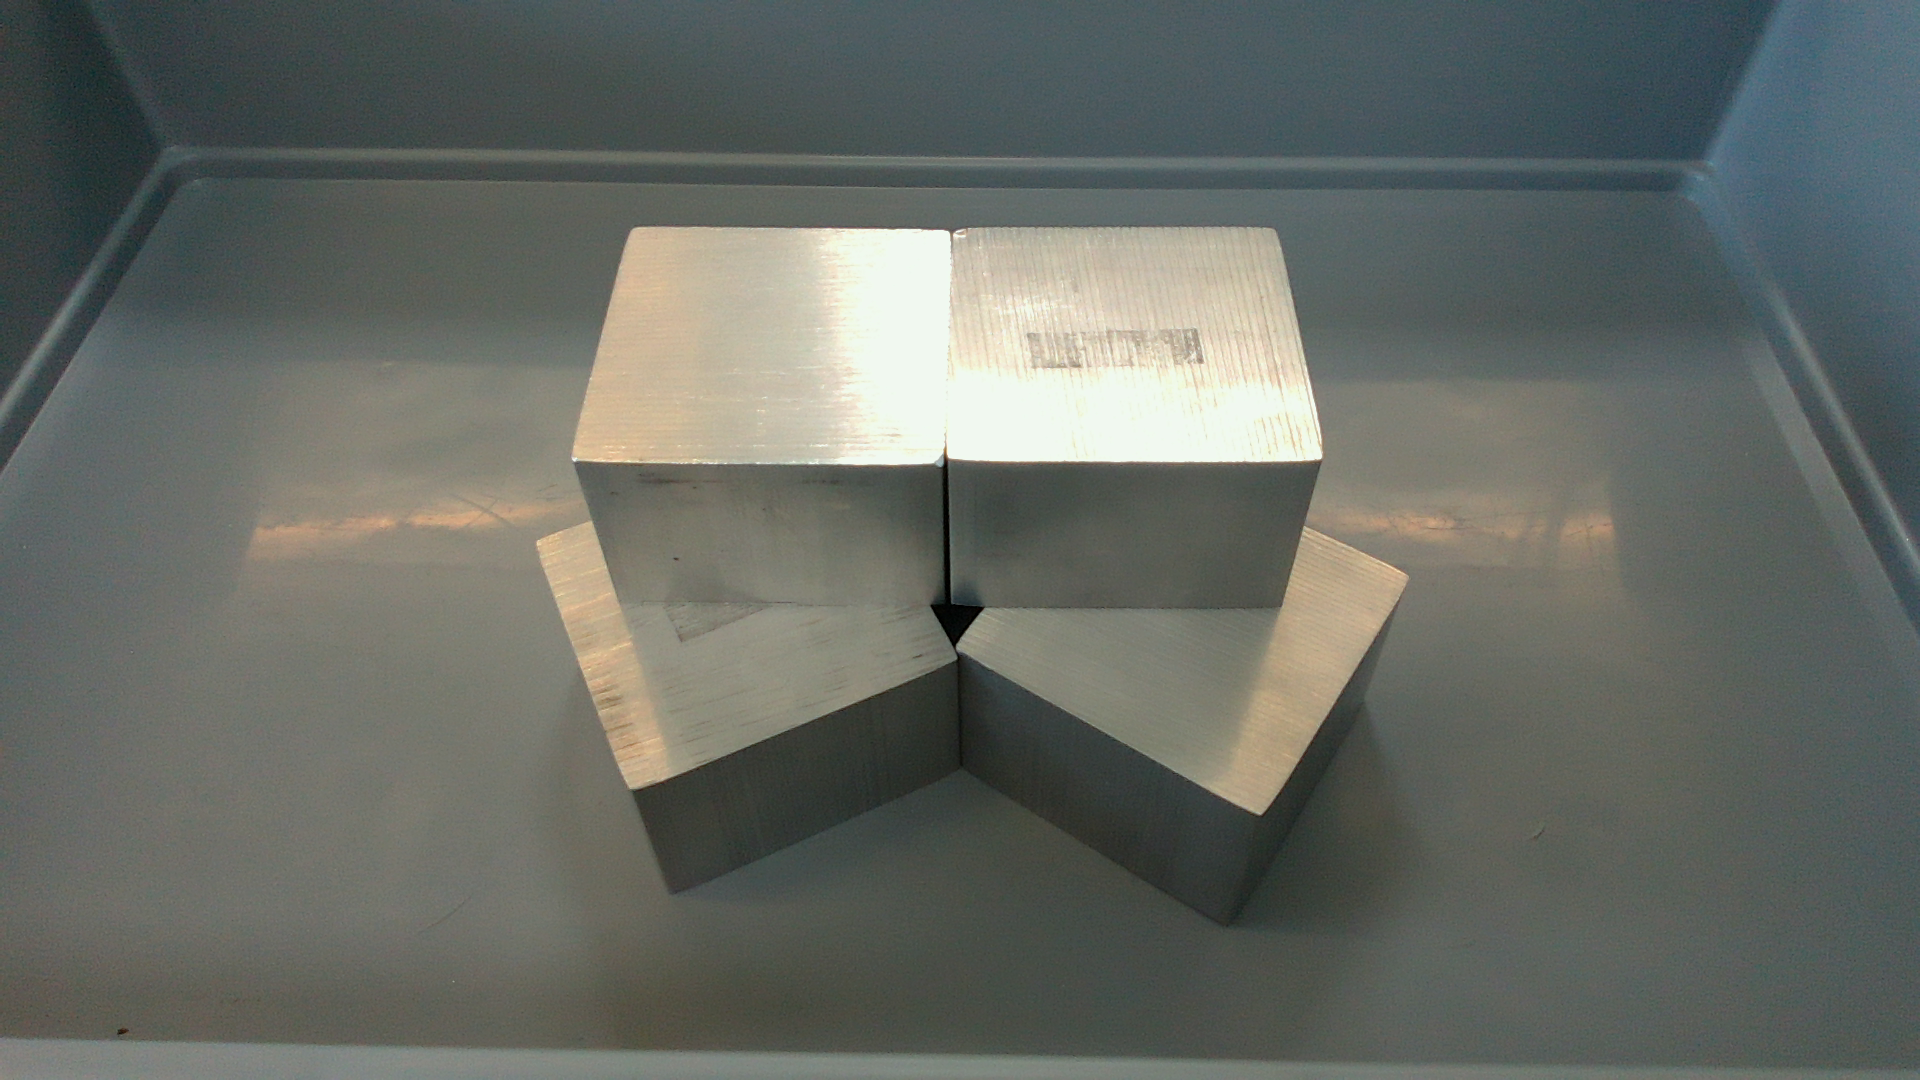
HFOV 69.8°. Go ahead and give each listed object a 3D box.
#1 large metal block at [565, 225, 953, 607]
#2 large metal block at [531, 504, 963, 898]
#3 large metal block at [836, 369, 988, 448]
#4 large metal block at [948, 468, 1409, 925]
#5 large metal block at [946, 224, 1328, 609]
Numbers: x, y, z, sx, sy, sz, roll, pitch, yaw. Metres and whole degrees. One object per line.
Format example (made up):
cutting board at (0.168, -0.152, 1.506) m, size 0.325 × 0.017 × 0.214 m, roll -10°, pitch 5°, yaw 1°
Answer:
large metal block at (-0.042, -0.031, 0.334) m, size 0.080 × 0.050 × 0.080 m, roll 1°, pitch 50°, yaw 1°
large metal block at (-0.053, 0.030, 0.349) m, size 0.080 × 0.050 × 0.080 m, roll -21°, pitch 53°, yaw -16°
large metal block at (0.006, -0.039, 0.407) m, size 0.080 × 0.050 × 0.080 m, roll 1°, pitch 50°, yaw 1°
large metal block at (0.053, 0.033, 0.344) m, size 0.080 × 0.050 × 0.080 m, roll 27°, pitch 55°, yaw 22°
large metal block at (0.038, -0.031, 0.333) m, size 0.080 × 0.050 × 0.080 m, roll 1°, pitch 50°, yaw 1°
